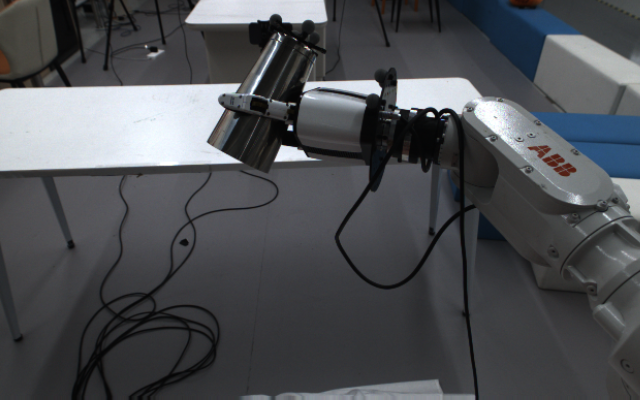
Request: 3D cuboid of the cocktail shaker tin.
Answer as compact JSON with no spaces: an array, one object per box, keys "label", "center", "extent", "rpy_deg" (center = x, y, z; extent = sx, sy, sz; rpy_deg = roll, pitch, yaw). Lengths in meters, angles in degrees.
[{"label":"cocktail shaker tin","center":[-0.073,-0.136,0.653],"extent":[0.093,0.170,0.093],"rpy_deg":[27,2,-1]}]
